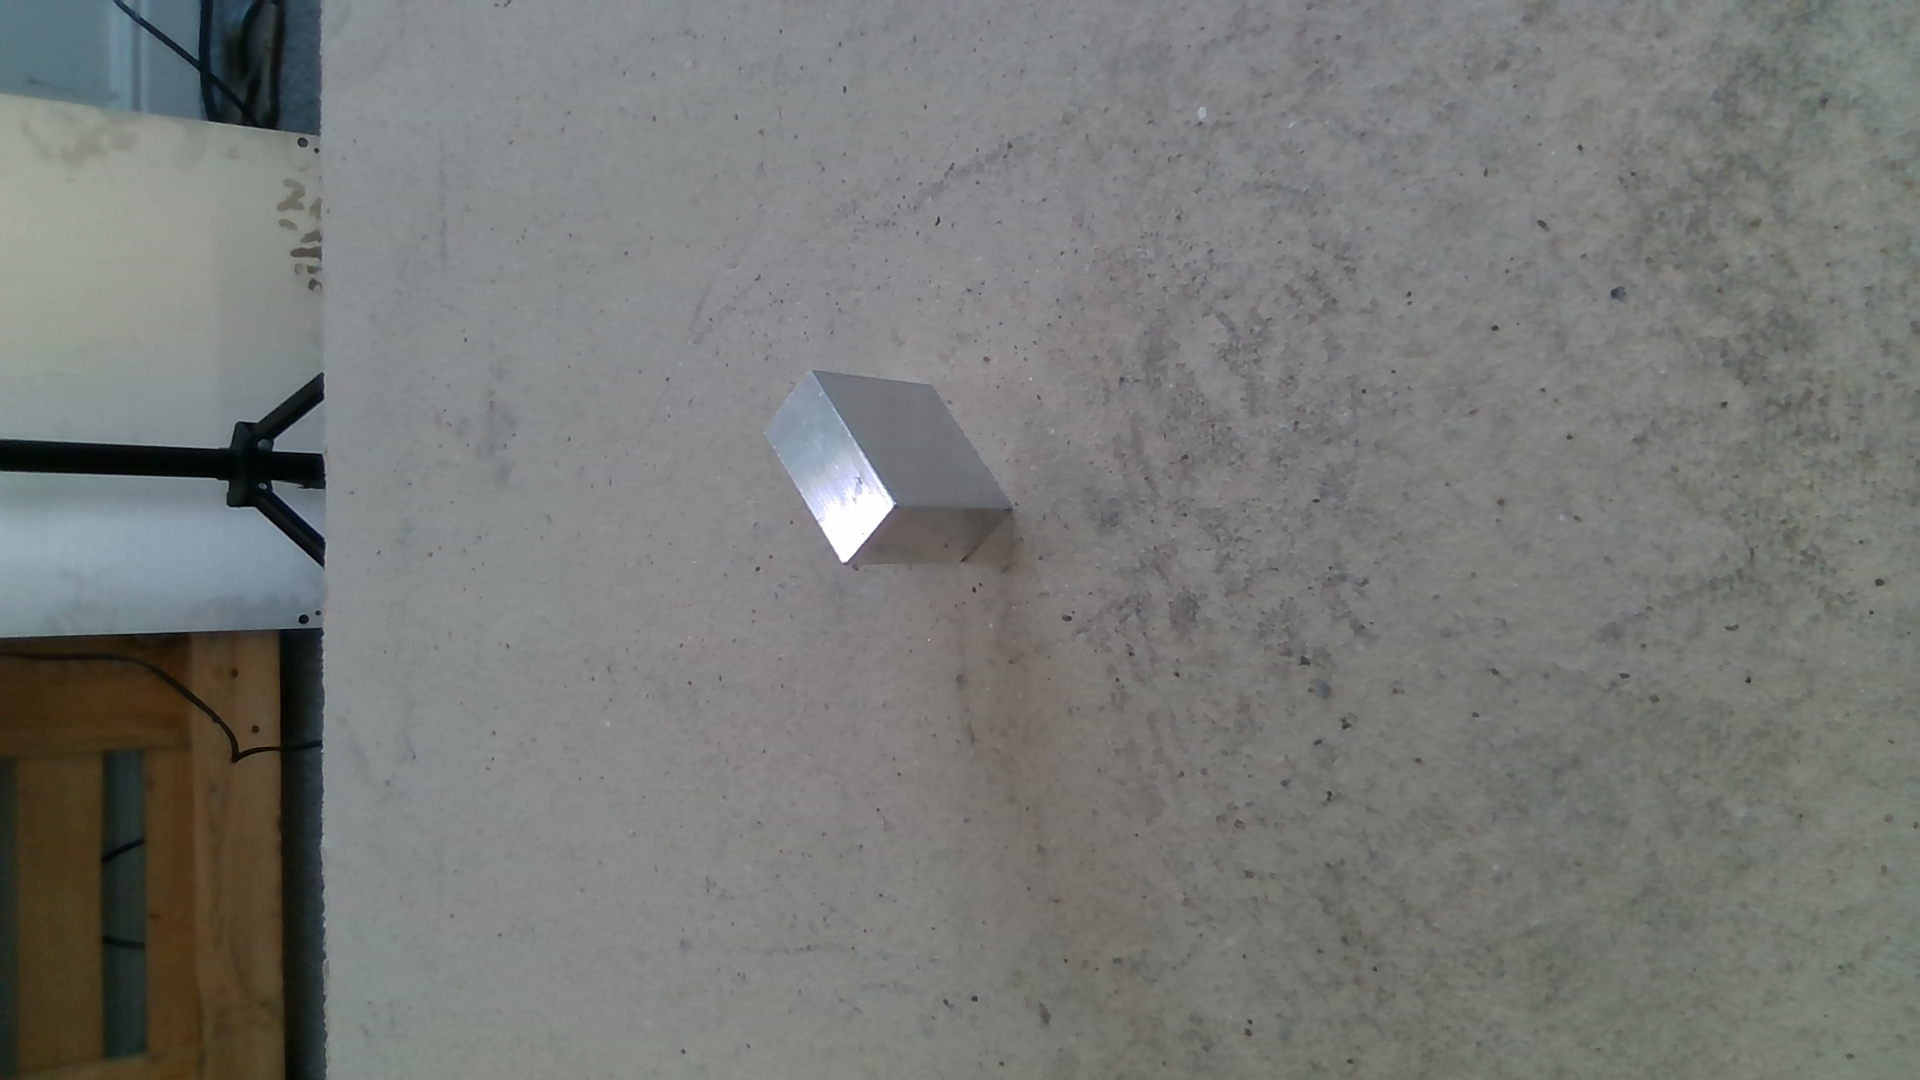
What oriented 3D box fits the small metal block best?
[{"bbox_3d":[-0.021,-0.020,0.391,0.025,0.050,0.050,-48,62,30],"label":"small metal block"}]
